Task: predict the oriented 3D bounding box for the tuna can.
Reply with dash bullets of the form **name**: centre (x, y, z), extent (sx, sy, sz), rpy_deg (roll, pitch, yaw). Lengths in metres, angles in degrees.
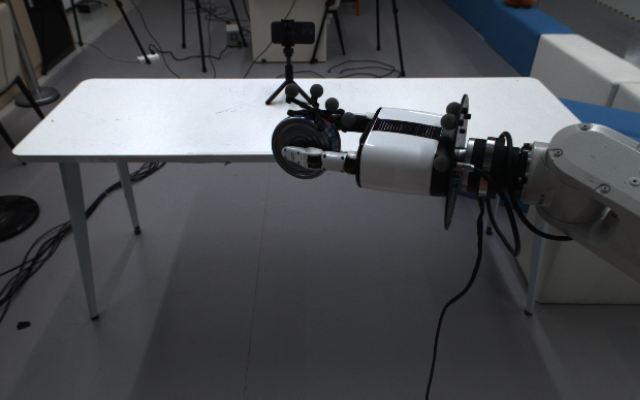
- **tuna can**: centre (-0.018, -0.072, 0.623), extent (0.085, 0.085, 0.034), rpy_deg (15, 31, 18)
